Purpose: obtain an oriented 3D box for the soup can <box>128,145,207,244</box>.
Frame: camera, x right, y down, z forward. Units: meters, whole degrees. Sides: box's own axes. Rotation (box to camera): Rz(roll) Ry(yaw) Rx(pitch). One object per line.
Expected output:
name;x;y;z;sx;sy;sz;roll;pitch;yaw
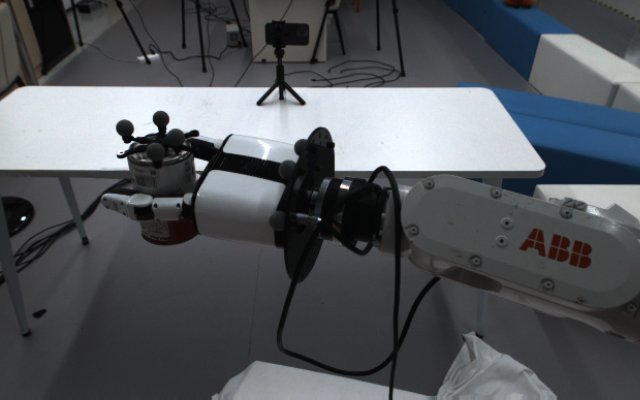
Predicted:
soup can;-0.166;-0.010;0.528;0.067;0.101;0.067;2;32;-1
